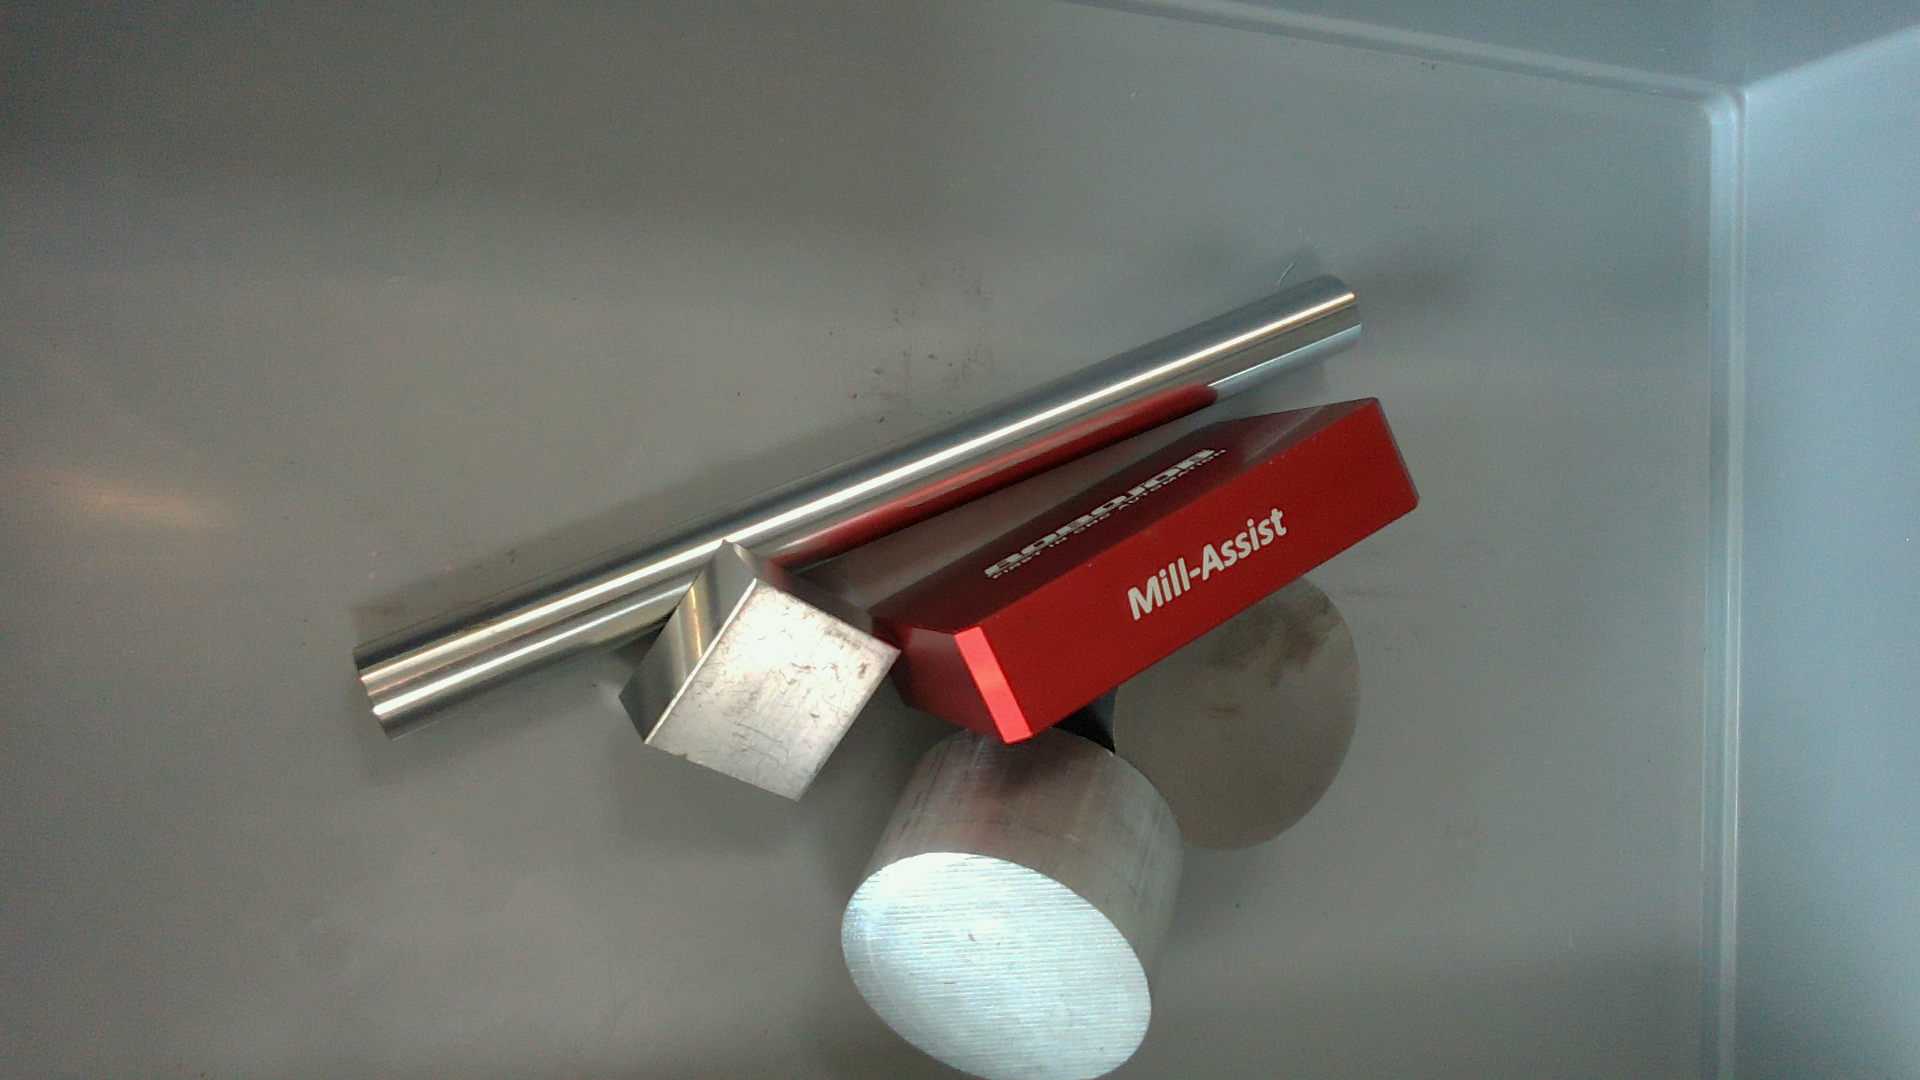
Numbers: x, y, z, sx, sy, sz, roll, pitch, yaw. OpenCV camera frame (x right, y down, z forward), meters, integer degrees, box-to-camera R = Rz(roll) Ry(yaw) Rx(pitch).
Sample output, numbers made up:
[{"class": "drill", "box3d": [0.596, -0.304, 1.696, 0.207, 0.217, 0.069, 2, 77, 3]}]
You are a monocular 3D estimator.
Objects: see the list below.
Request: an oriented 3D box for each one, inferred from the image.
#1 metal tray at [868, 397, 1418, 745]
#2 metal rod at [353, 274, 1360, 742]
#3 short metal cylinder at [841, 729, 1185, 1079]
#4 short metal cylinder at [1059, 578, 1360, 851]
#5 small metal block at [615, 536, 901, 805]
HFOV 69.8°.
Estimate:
[{"class": "metal tray", "box3d": [0.045, 0.005, 0.374, 0.130, 0.090, 0.030, -28, 99, -18]}, {"class": "metal rod", "box3d": [-0.013, -0.017, 0.387, 0.301, 0.025, 0.025, -23, 98, -19]}, {"class": "short metal cylinder", "box3d": [0.015, 0.096, 0.362, 0.080, 0.080, 0.050, 49, 34, -13]}, {"class": "short metal cylinder", "box3d": [0.067, 0.043, 0.398, 0.080, 0.050, 0.080, -4, 100, -23]}, {"class": "small metal block", "box3d": [-0.052, 0.035, 0.360, 0.050, 0.025, 0.050, 31, 96, -36]}]
